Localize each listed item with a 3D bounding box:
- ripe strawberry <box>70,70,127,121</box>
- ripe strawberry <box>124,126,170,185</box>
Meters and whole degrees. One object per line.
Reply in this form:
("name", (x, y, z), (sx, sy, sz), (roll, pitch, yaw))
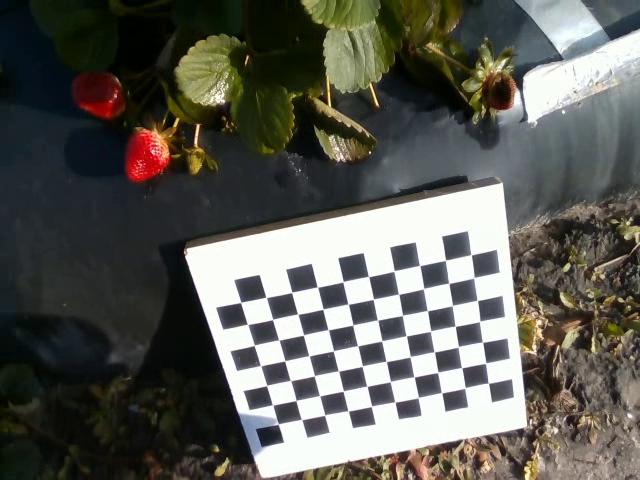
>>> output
("ripe strawberry", (-0.196, -0.129, 0.545), (0.054, 0.048, 0.039), (-3, 20, -27))
("ripe strawberry", (-0.156, -0.073, 0.529), (0.043, 0.053, 0.038), (31, -26, -12))
